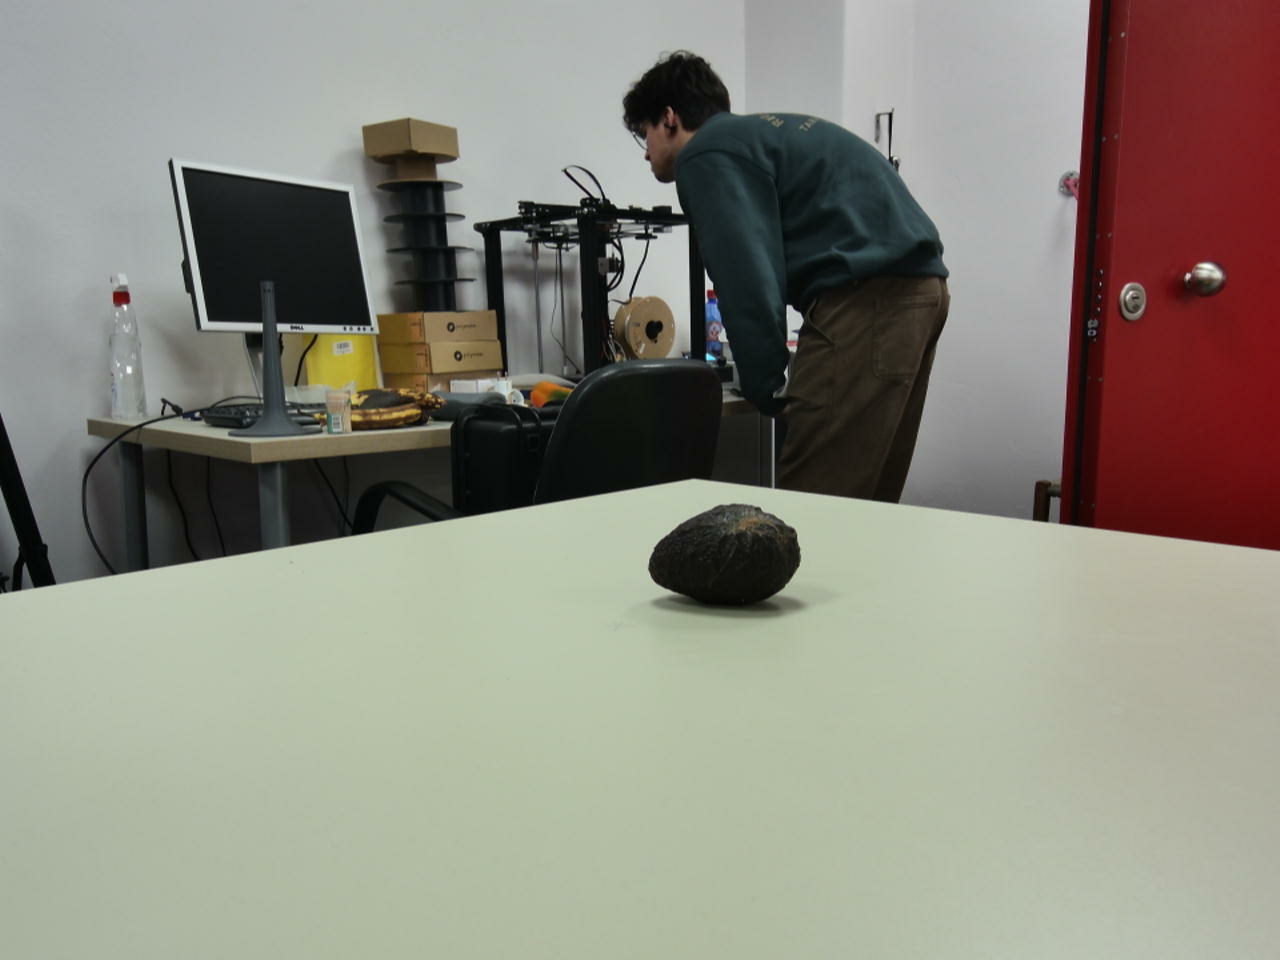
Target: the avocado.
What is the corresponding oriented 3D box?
[{"bbox_3d":[0.053,0.045,0.619,0.092,0.062,0.062,4,7,23],"label":"avocado"}]
